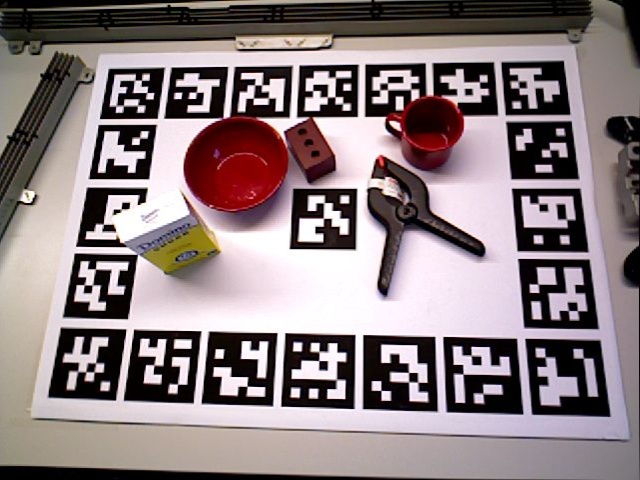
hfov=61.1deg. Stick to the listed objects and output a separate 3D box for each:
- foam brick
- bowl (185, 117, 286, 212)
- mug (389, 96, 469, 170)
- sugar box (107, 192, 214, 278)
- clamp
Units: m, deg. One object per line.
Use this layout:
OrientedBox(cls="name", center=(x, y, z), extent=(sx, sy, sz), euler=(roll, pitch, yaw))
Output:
OrientedBox(cls="foam brick", center=(-0.012, -0.132, 0.834), extent=(0.052, 0.052, 0.078), euler=(-26, 74, -4))
OrientedBox(cls="bowl", center=(-0.129, -0.109, 0.828), extent=(0.161, 0.056, 0.160), euler=(-1, 74, 3))
OrientedBox(cls="mug", center=(0.156, -0.162, 0.806), extent=(0.117, 0.082, 0.092), euler=(26, 76, 7))
OrientedBox(cls="sugar box", center=(-0.209, -0.001, 0.740), extent=(0.092, 0.178, 0.045), euler=(-23, 74, -6))
OrientedBox(cls="clamp", center=(0.121, -0.034, 0.791), extent=(0.165, 0.037, 0.202), euler=(-22, 74, 0))
